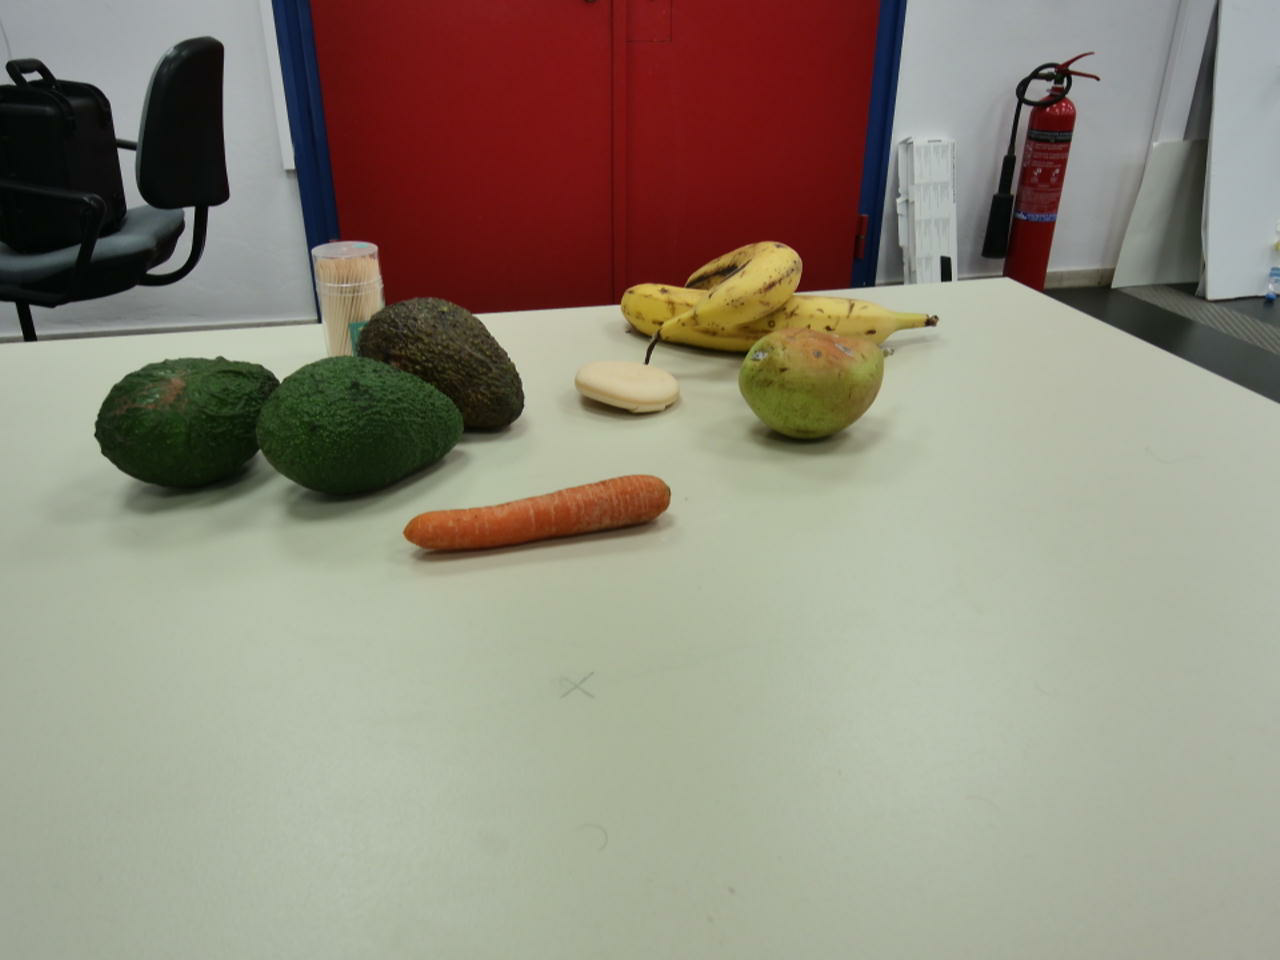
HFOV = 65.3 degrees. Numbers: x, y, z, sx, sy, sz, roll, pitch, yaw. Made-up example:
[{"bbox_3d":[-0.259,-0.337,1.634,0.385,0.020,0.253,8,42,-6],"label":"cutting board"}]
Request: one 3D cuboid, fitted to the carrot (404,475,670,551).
[{"bbox_3d":[-0.044,0.015,0.451,0.122,0.023,0.024,-7,25,-15],"label":"carrot"}]
